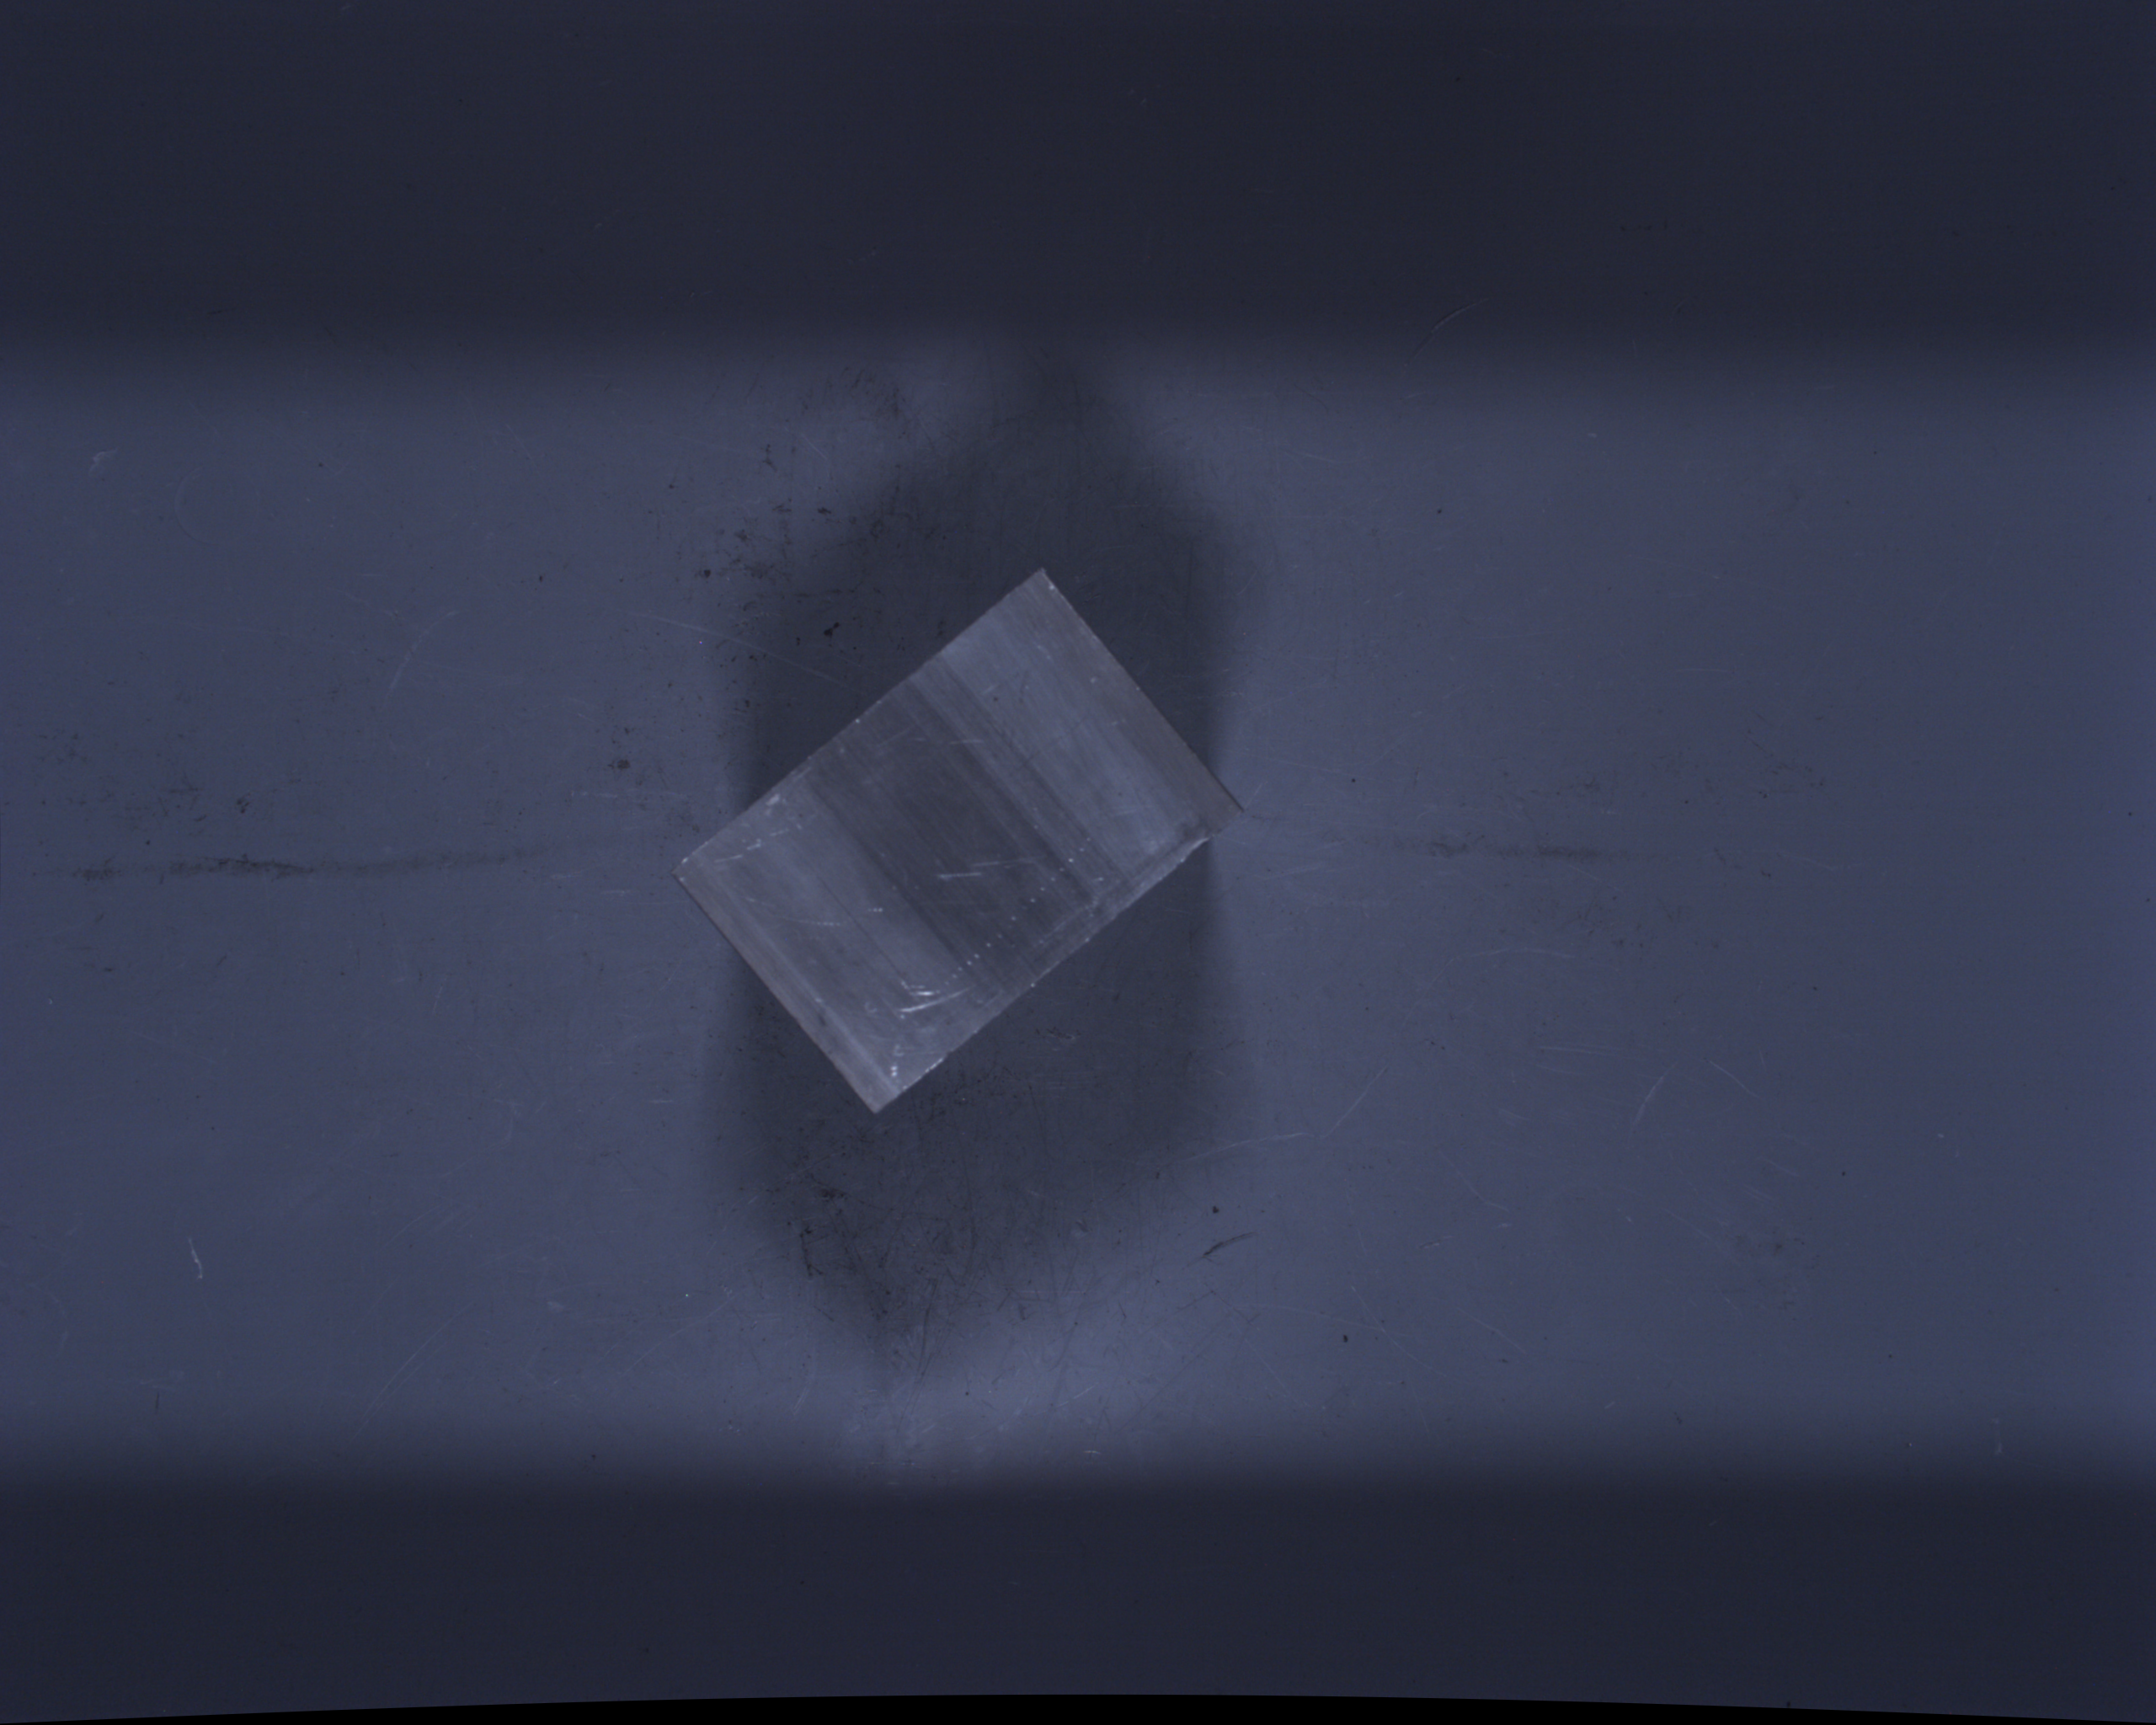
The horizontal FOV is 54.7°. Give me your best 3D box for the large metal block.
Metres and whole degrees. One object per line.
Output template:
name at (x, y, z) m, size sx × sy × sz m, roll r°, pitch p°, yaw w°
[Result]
large metal block at (-0.019, -0.004, 0.381) m, size 0.080 × 0.080 × 0.050 m, roll -40°, pitch 90°, yaw 0°
